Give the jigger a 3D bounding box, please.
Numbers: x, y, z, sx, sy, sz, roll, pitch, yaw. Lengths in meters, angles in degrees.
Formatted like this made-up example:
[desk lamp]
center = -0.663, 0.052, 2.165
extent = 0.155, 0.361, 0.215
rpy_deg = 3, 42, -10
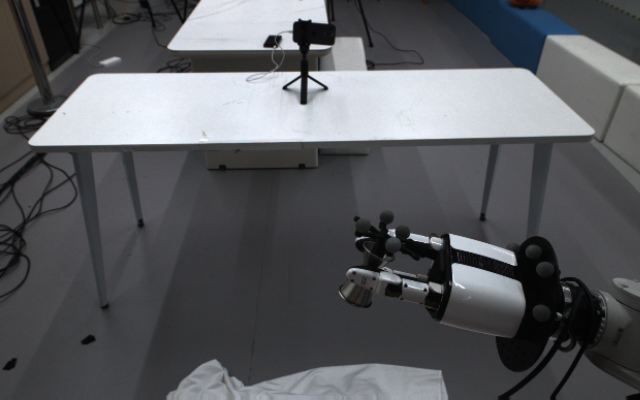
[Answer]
[jigger]
center = 0.054, 0.086, 0.569
extent = 0.043, 0.071, 0.043
rpy_deg = 23, 19, -8
